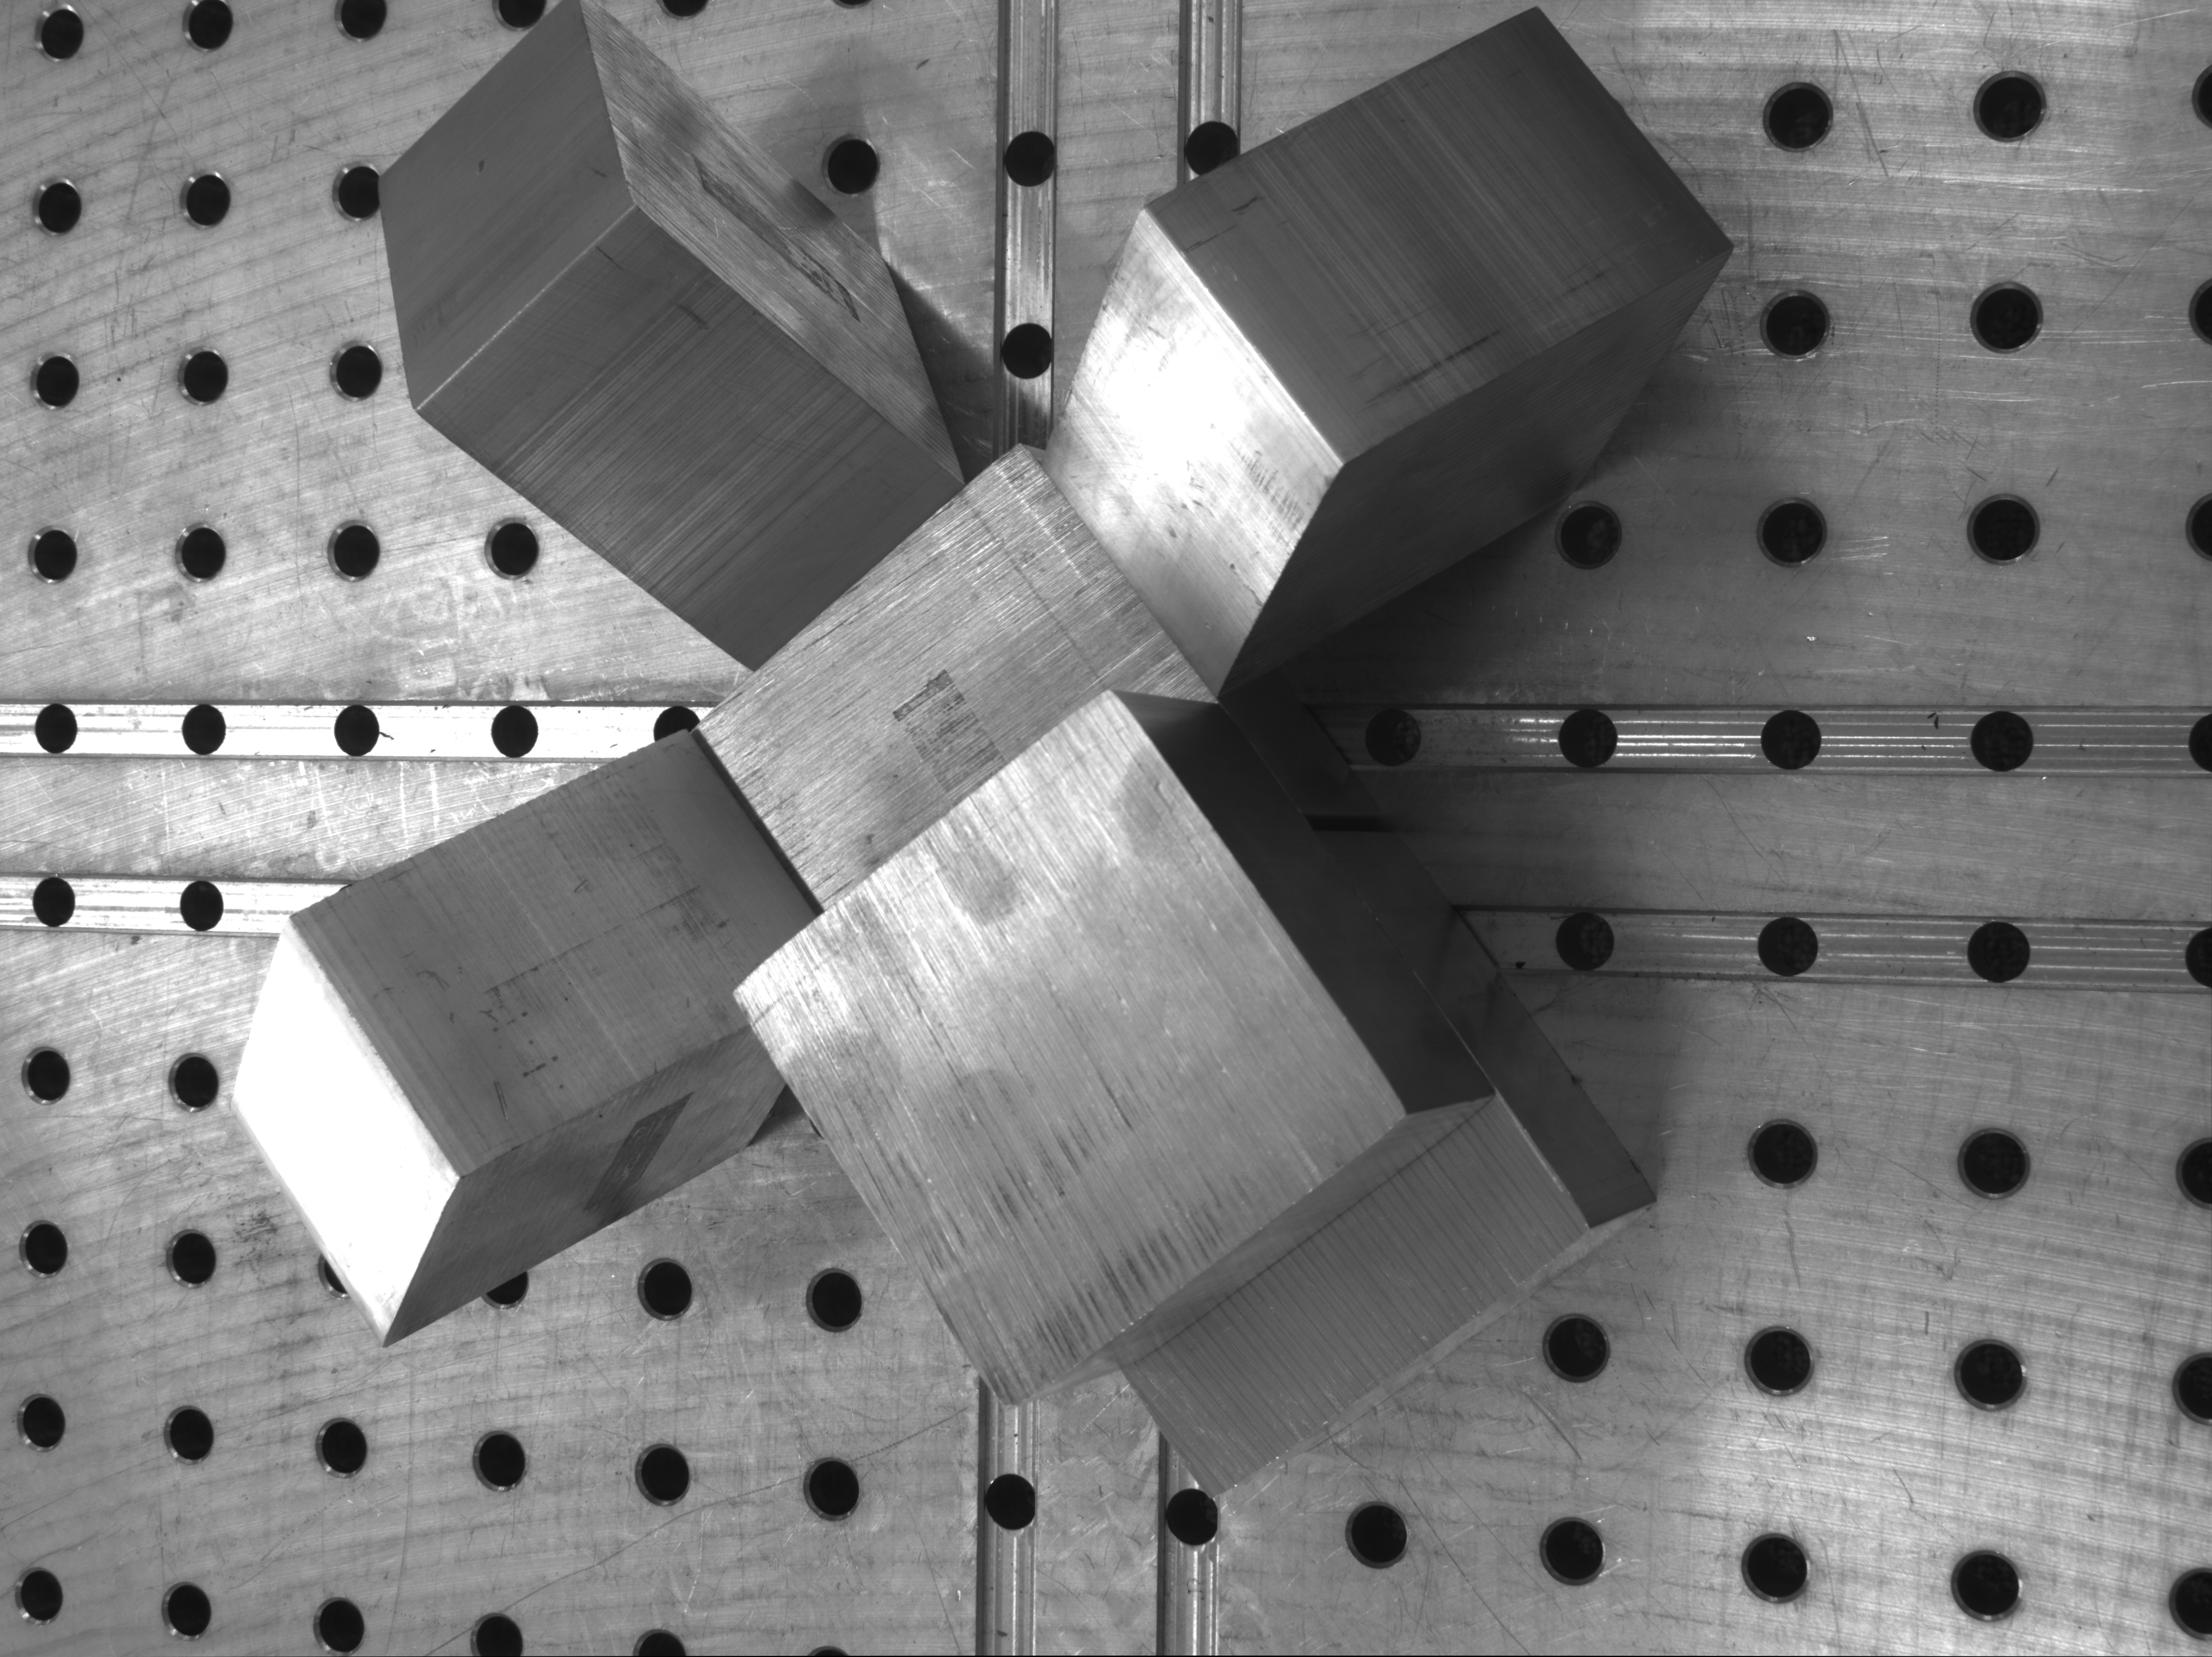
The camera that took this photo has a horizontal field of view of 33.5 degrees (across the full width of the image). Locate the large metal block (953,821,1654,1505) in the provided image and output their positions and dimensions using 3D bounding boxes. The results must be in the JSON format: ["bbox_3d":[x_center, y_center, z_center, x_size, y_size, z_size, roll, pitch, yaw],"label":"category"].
[{"bbox_3d":[0.033,0.056,0.623,0.080,0.050,0.080,-38,76,15],"label":"large metal block"}]

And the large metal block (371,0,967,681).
[{"bbox_3d":[-0.076,-0.085,0.632,0.050,0.080,0.080,-39,38,16],"label":"large metal block"}]

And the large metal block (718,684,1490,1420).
[{"bbox_3d":[0.000,0.034,0.581,0.080,0.050,0.080,-39,78,15],"label":"large metal block"}]

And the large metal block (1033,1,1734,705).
[{"bbox_3d":[0.042,-0.075,0.588,0.080,0.080,0.050,-31,76,-23],"label":"large metal block"}]

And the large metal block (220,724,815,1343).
[{"bbox_3d":[-0.102,0.036,0.641,0.050,0.080,0.080,54,148,13],"label":"large metal block"}]

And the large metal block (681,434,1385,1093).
[{"bbox_3d":[-0.012,-0.010,0.641,0.080,0.050,0.080,-40,77,16],"label":"large metal block"}]
